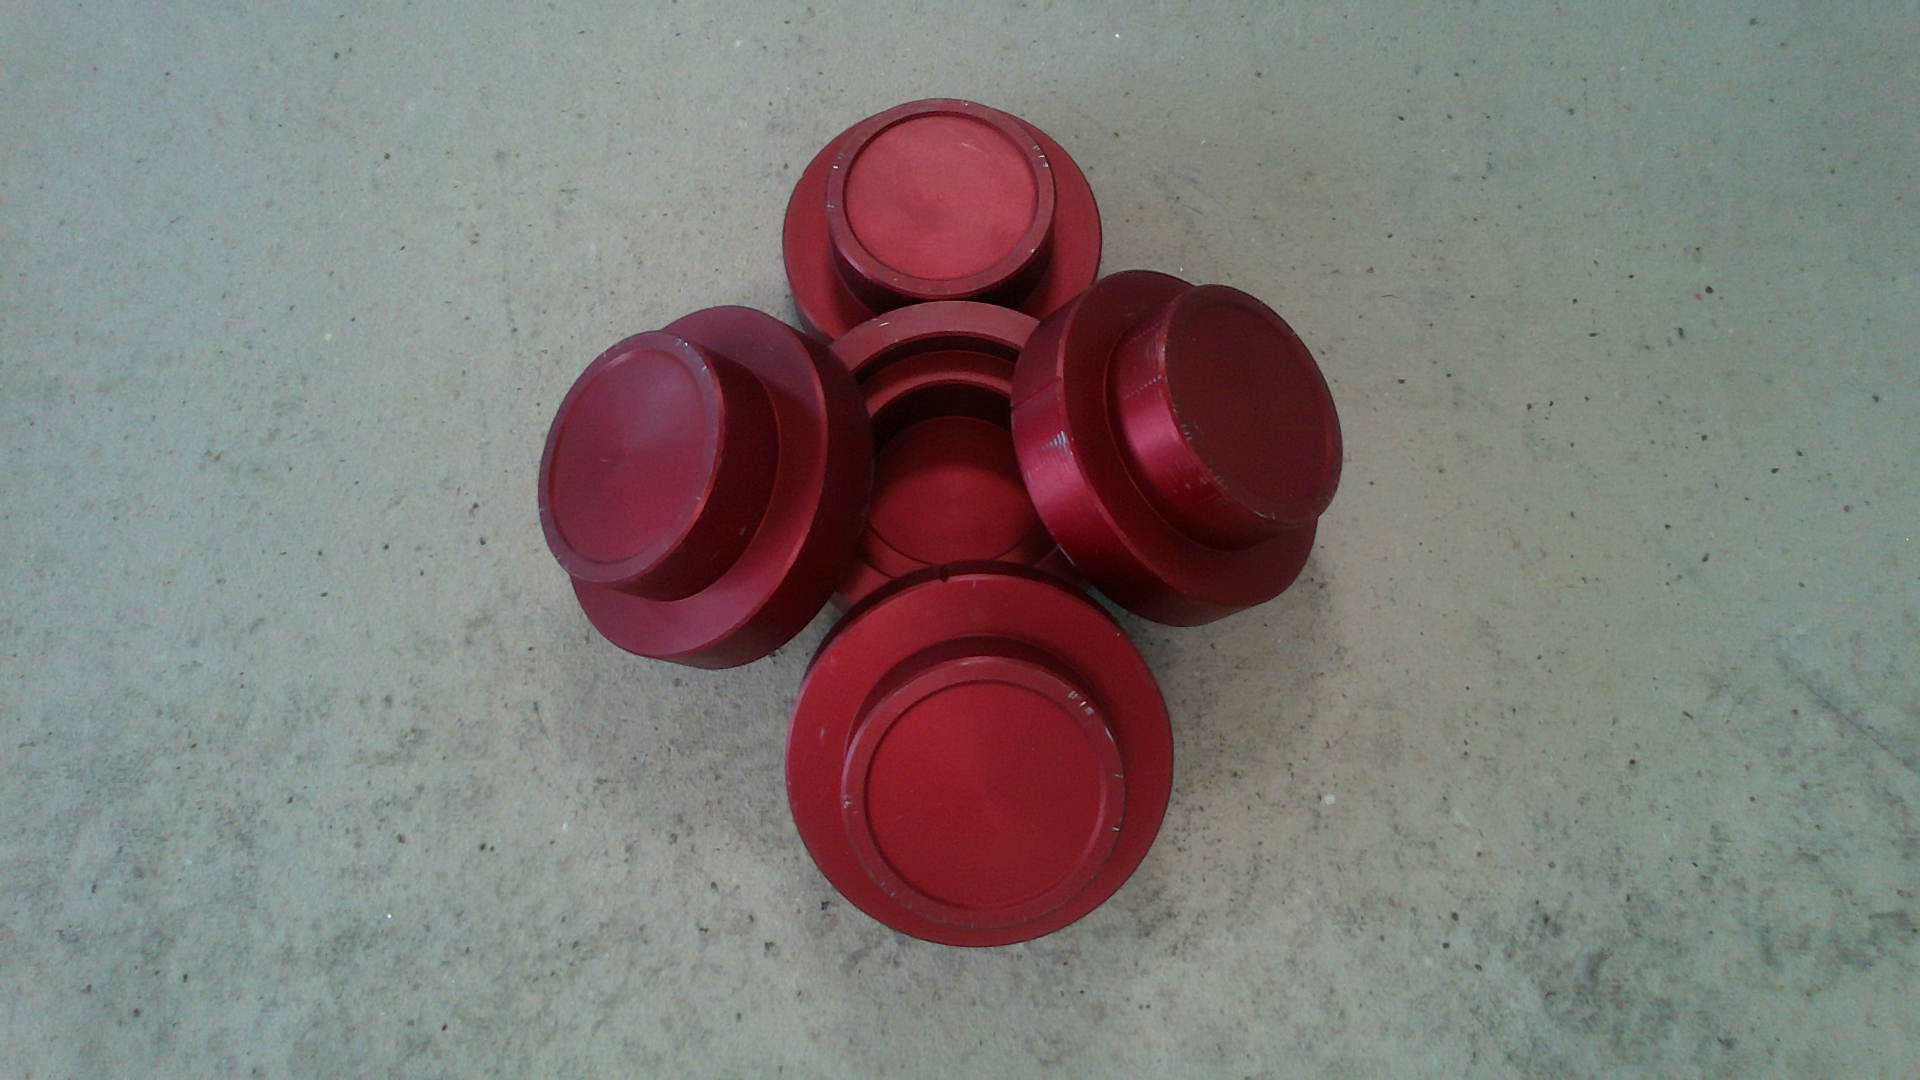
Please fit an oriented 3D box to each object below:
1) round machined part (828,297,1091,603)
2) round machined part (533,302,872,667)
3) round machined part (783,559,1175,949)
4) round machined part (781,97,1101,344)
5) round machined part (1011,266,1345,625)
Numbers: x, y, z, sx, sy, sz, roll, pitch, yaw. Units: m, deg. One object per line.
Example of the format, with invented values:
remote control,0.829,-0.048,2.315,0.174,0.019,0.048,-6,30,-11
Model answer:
round machined part,-0.001,-0.016,0.391,0.098,0.042,0.098,-1,69,2
round machined part,-0.075,-0.017,0.366,0.098,0.042,0.098,-10,72,32
round machined part,0.005,0.057,0.342,0.098,0.042,0.098,0,100,-2
round machined part,-0.006,-0.094,0.420,0.098,0.042,0.098,0,68,0
round machined part,0.065,-0.030,0.370,0.098,0.042,0.098,17,61,-32
